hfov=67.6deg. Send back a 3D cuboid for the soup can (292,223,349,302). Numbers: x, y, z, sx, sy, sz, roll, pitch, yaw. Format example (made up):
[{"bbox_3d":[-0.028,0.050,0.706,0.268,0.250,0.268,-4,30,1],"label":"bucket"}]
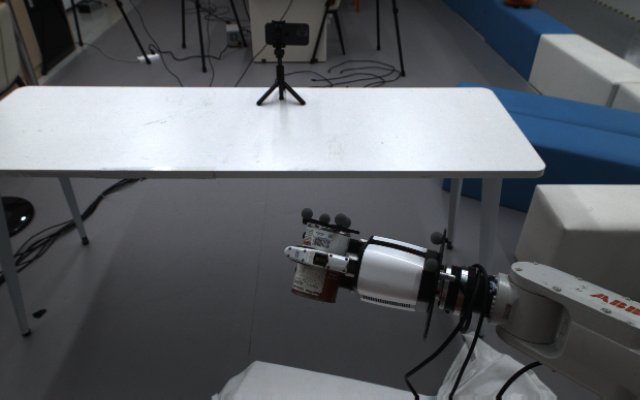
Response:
[{"bbox_3d":[0.003,0.093,0.706,0.067,0.101,0.067,13,-6,1],"label":"soup can"}]
